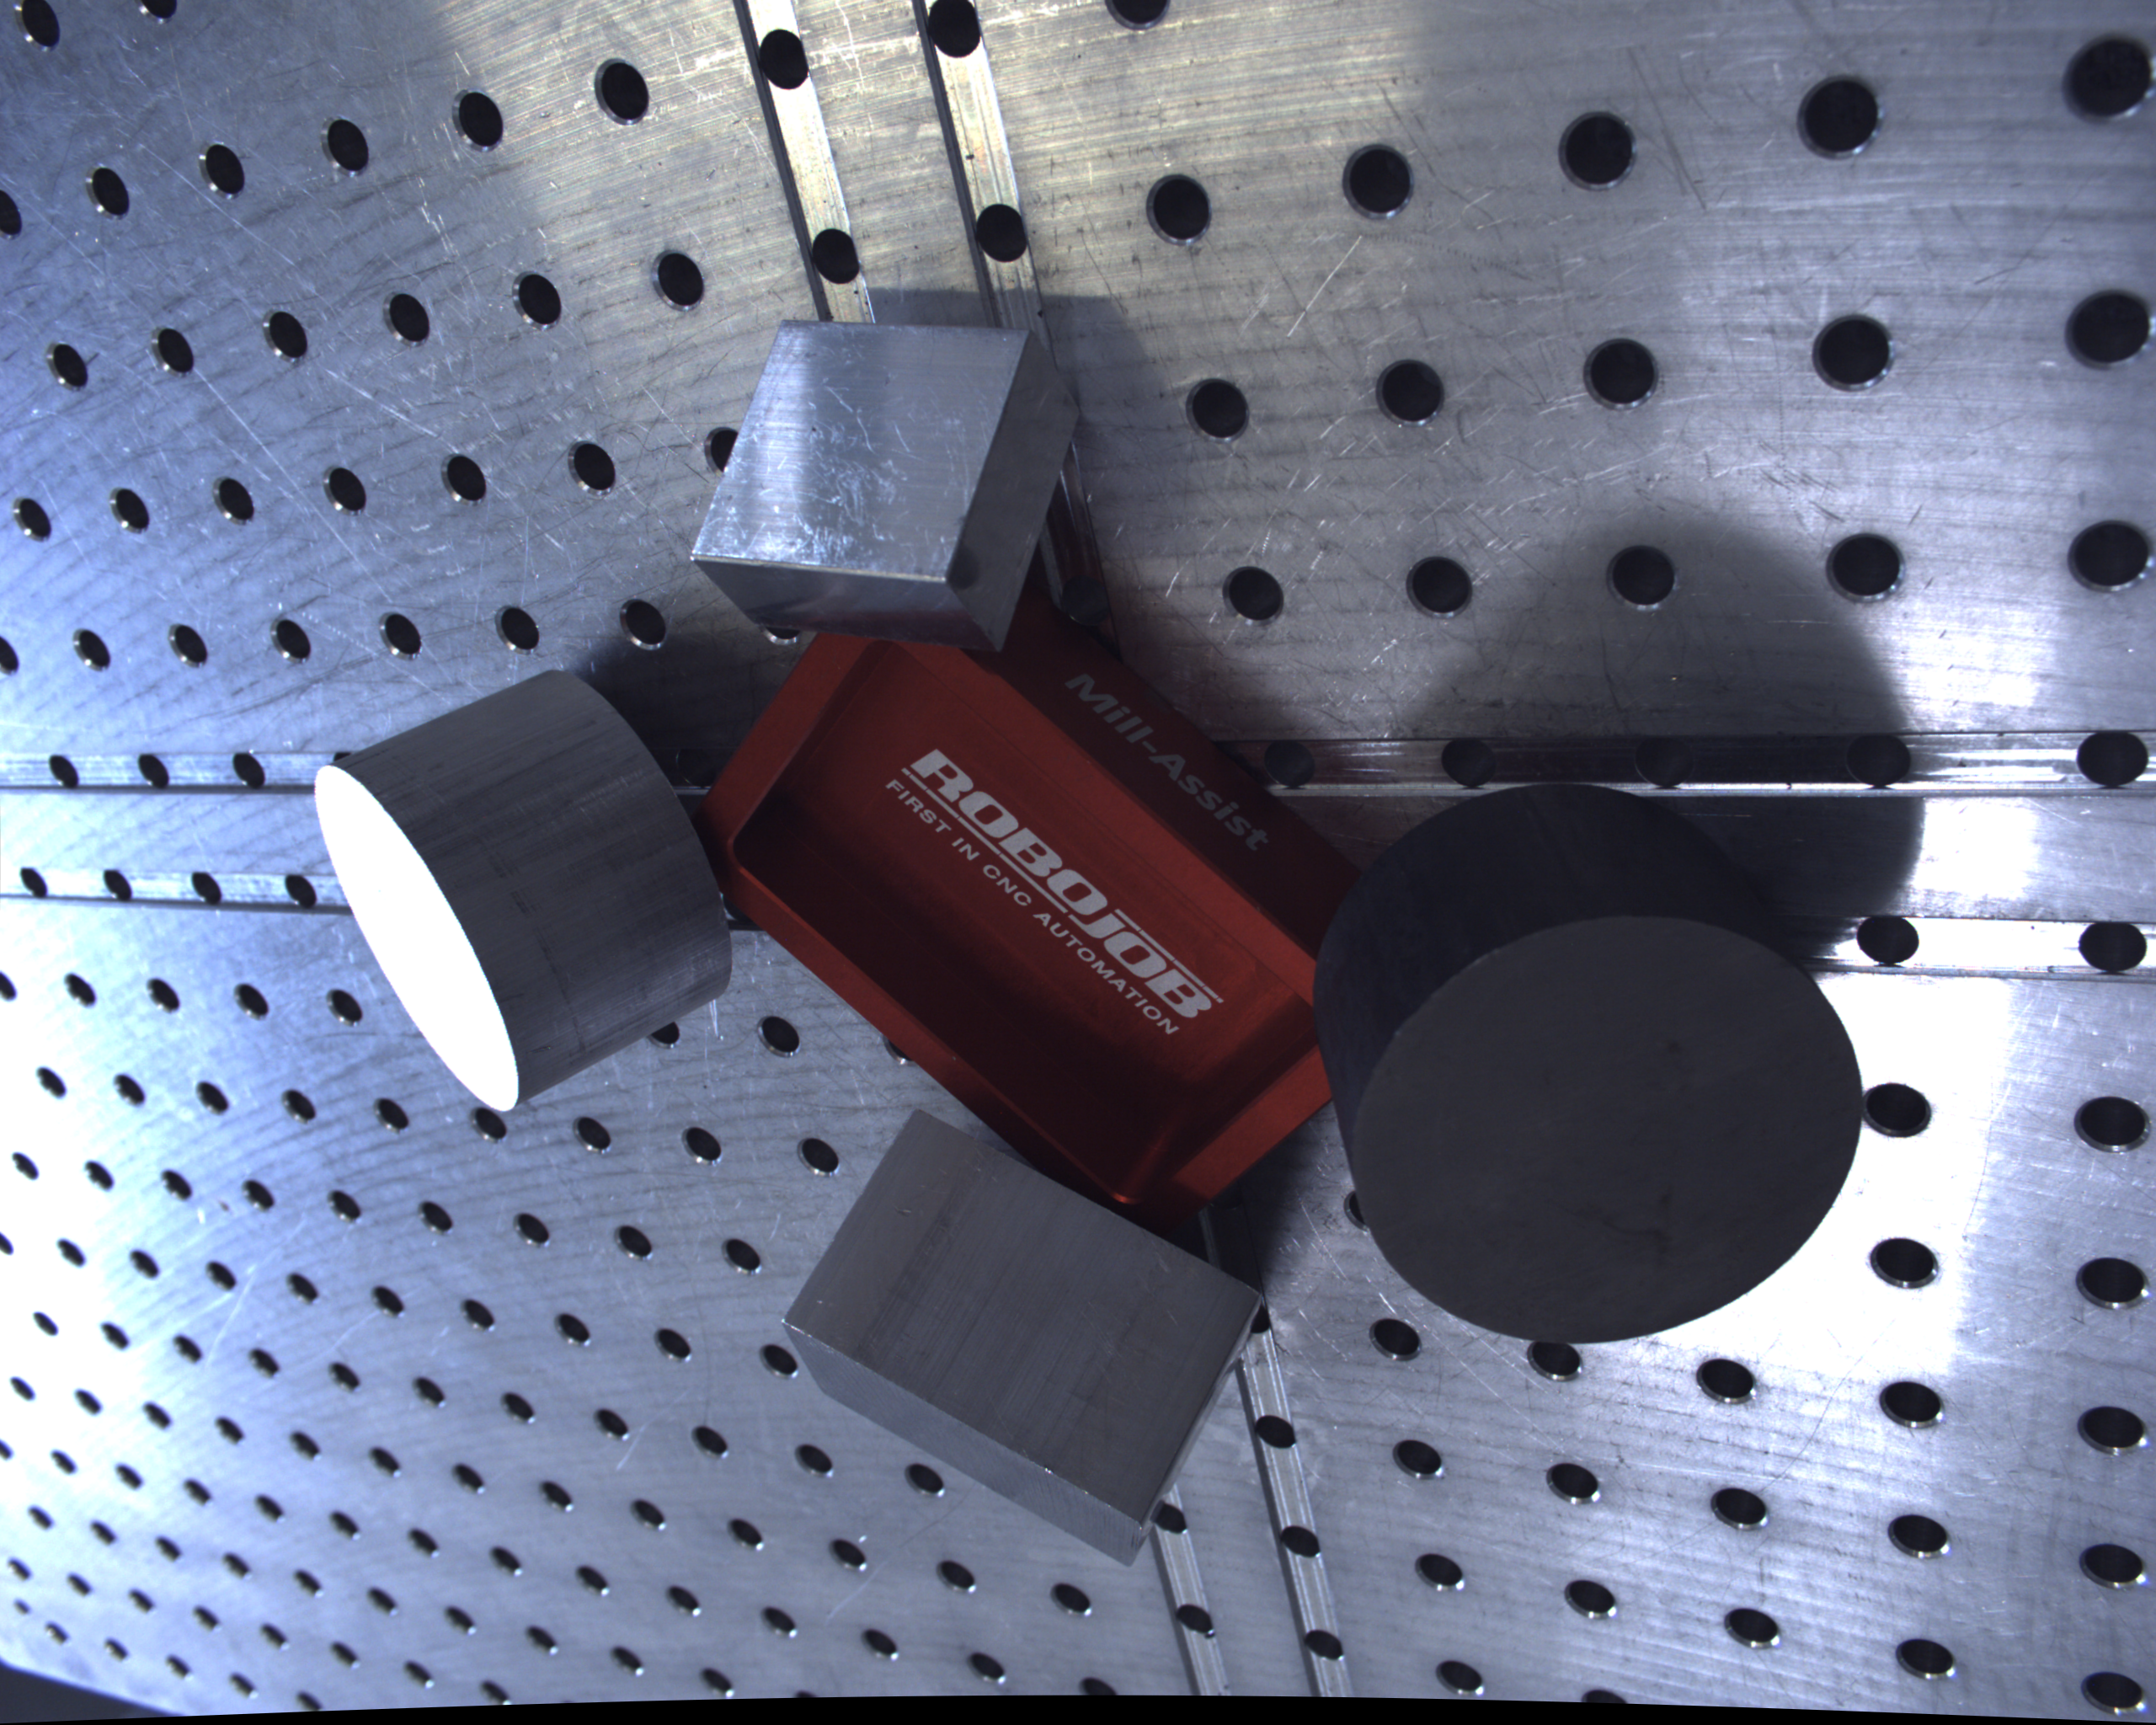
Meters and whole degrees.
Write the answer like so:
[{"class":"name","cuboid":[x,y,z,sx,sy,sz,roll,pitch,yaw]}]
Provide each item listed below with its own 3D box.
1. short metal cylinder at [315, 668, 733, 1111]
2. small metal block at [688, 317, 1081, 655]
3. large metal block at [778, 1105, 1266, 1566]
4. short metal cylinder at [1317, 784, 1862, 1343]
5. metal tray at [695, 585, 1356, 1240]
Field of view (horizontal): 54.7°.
[{"class":"short metal cylinder","cuboid":[-0.117,0.005,0.441,0.080,0.050,0.079,37,143,35]},{"class":"small metal block","cuboid":[-0.033,-0.067,0.368,0.050,0.050,0.025,9,160,23]},{"class":"large metal block","cuboid":[-0.011,0.103,0.442,0.080,0.050,0.080,27,158,10]},{"class":"short metal cylinder","cuboid":[0.083,0.033,0.352,0.081,0.050,0.079,-1,116,-1]},{"class":"metal tray","cuboid":[-0.006,0.007,0.415,0.130,0.030,0.090,41,129,-1]}]
